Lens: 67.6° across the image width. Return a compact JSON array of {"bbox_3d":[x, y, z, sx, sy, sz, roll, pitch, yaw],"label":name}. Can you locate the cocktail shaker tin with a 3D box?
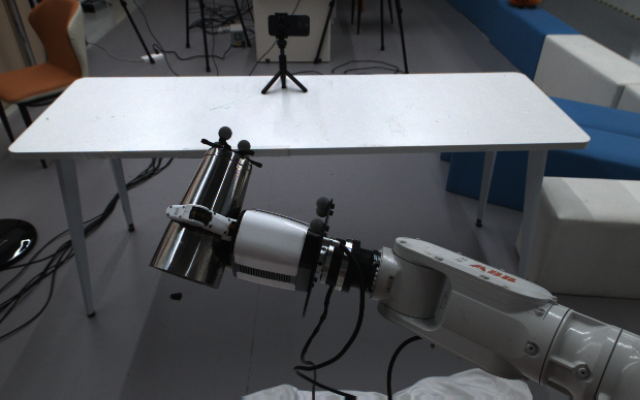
[{"bbox_3d":[-0.151,0.022,0.638,0.093,0.093,0.170,15,74,17],"label":"cocktail shaker tin"}]
